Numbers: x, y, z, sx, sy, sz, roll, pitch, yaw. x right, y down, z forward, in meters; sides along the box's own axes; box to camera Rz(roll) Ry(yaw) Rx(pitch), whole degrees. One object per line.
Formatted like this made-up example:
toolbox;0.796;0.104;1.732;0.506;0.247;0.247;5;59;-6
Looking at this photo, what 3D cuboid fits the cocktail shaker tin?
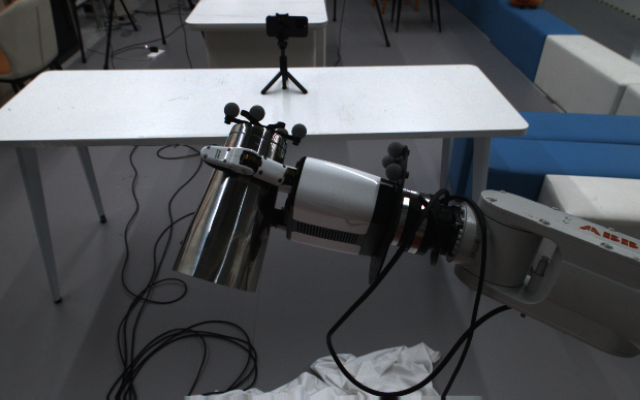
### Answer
cocktail shaker tin;-0.087;0.005;0.534;0.093;0.093;0.170;13;79;15
